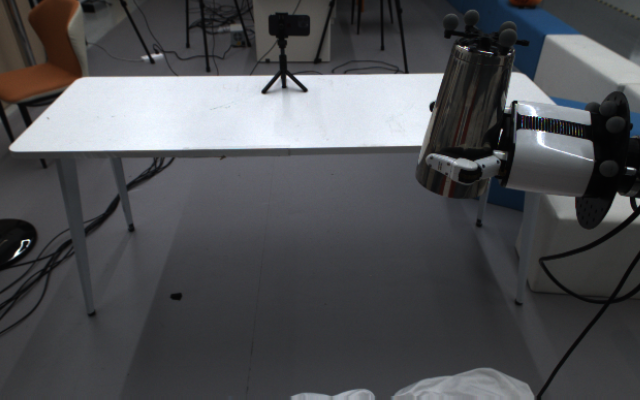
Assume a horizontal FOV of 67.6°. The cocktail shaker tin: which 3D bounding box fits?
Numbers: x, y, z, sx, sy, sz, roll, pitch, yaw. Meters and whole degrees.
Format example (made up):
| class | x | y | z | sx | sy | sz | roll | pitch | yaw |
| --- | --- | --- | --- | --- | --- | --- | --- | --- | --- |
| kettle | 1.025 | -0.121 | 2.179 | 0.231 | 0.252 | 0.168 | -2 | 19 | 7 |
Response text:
| class | x | y | z | sx | sy | sz | roll | pitch | yaw |
| --- | --- | --- | --- | --- | --- | --- | --- | --- | --- |
| cocktail shaker tin | 0.174 | -0.099 | 0.573 | 0.093 | 0.170 | 0.093 | 3 | 34 | -2 |
